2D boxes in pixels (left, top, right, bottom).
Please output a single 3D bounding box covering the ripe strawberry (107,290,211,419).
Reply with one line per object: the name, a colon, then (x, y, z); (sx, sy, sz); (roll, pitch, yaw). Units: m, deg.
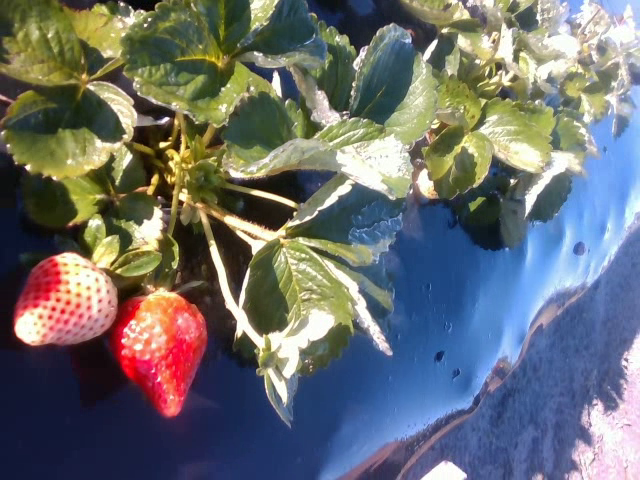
ripe strawberry: (-0.055, 0.045, 0.216); (0.040, 0.038, 0.056); (-6, 40, -20)
